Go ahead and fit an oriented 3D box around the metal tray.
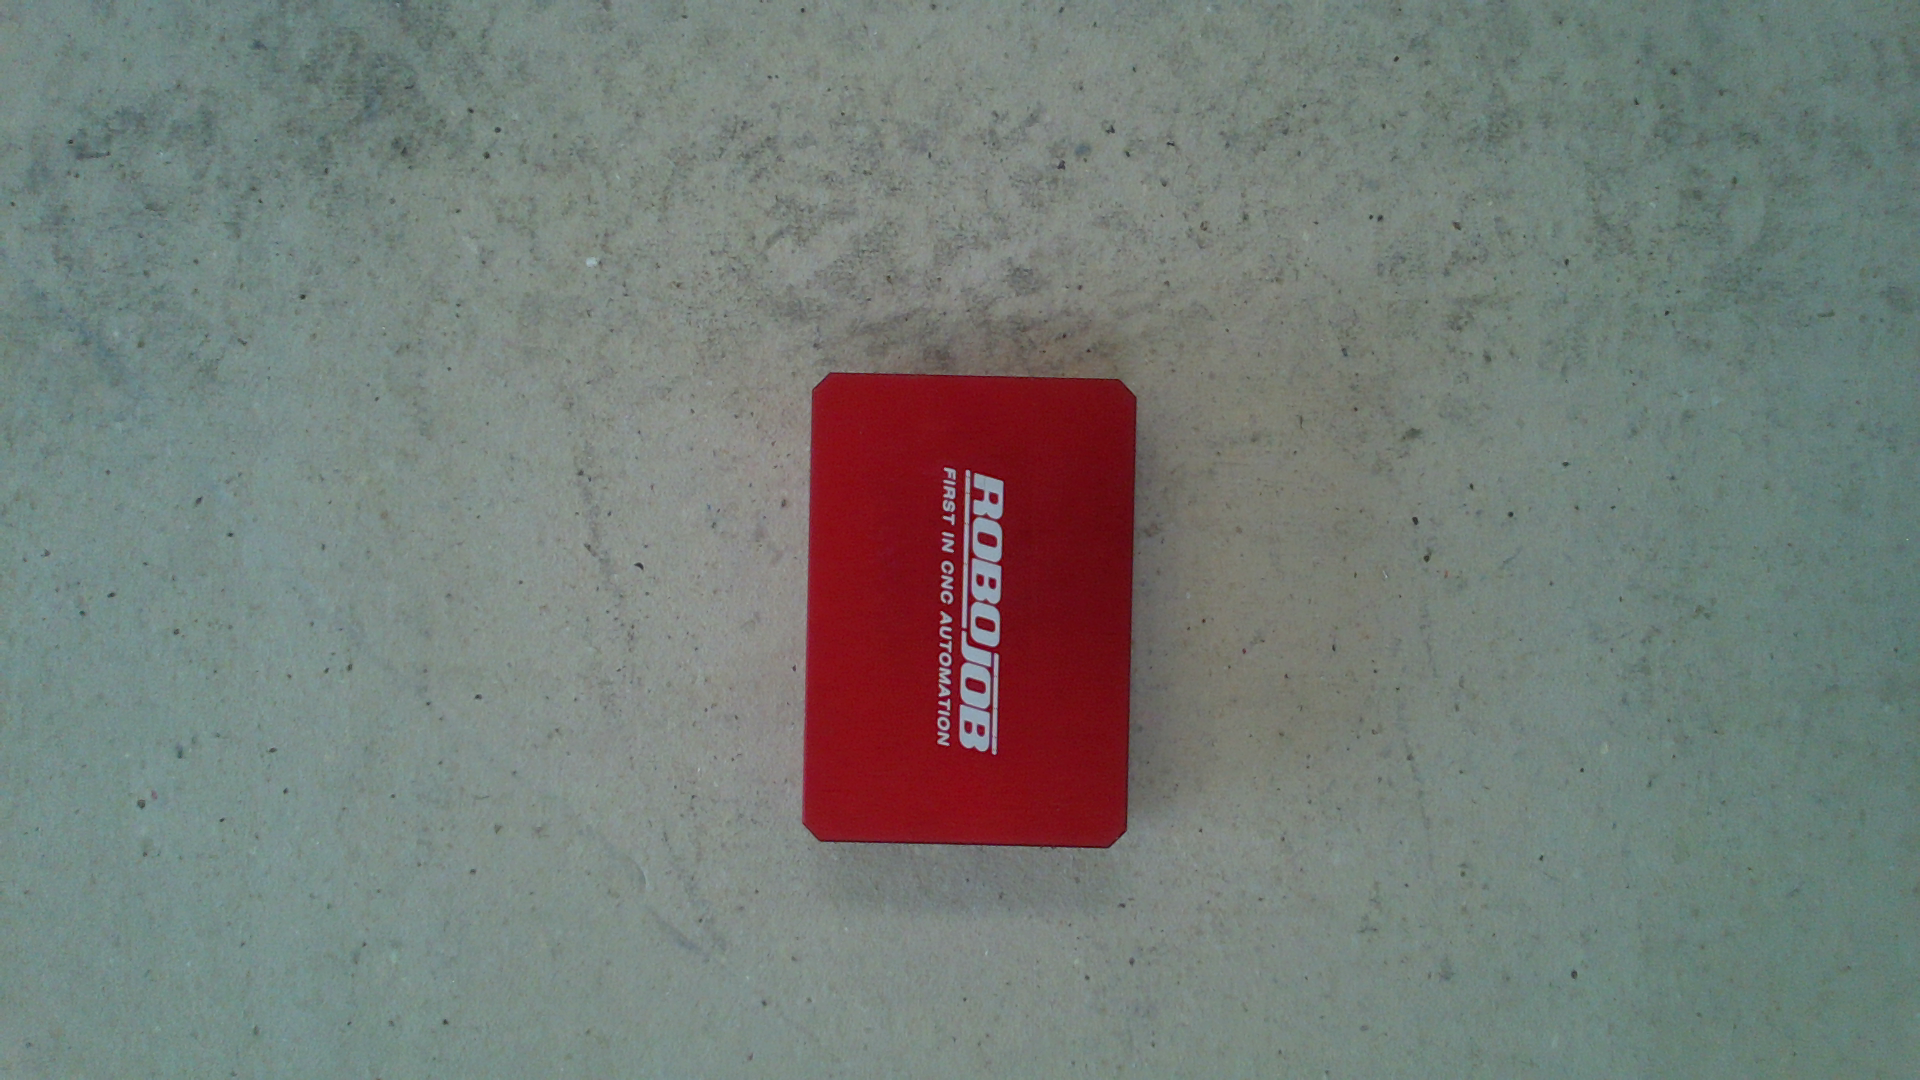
[{"bbox_3d":[0.003,0.020,0.392,0.090,0.030,0.130,1,91,-1],"label":"metal tray"}]
